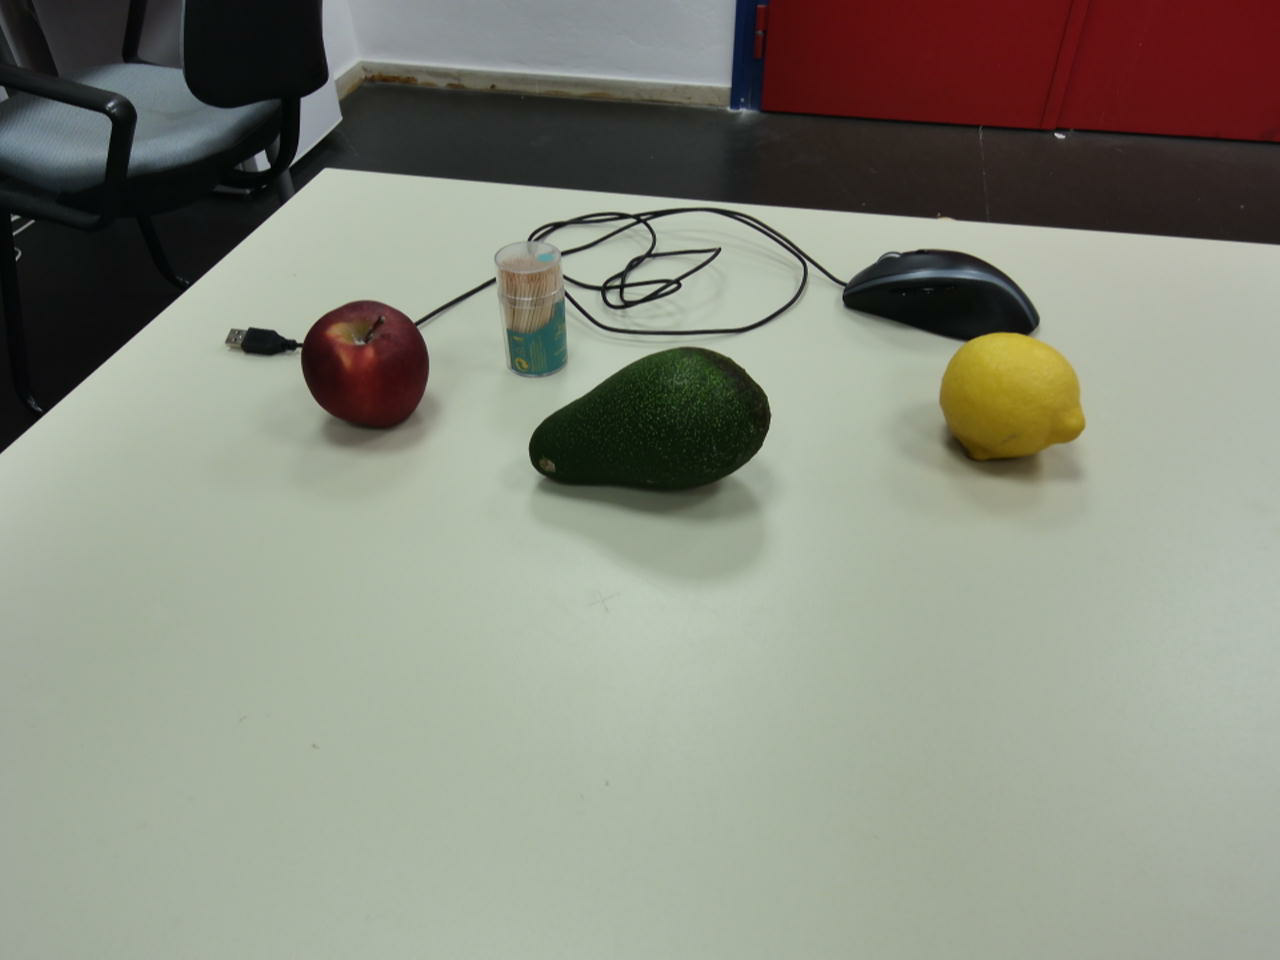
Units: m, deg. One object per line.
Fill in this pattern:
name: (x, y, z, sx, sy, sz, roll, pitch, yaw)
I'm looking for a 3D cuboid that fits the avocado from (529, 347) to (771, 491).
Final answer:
avocado: (0.006, -0.035, 0.519, 0.123, 0.076, 0.074, 13, 40, 15)
